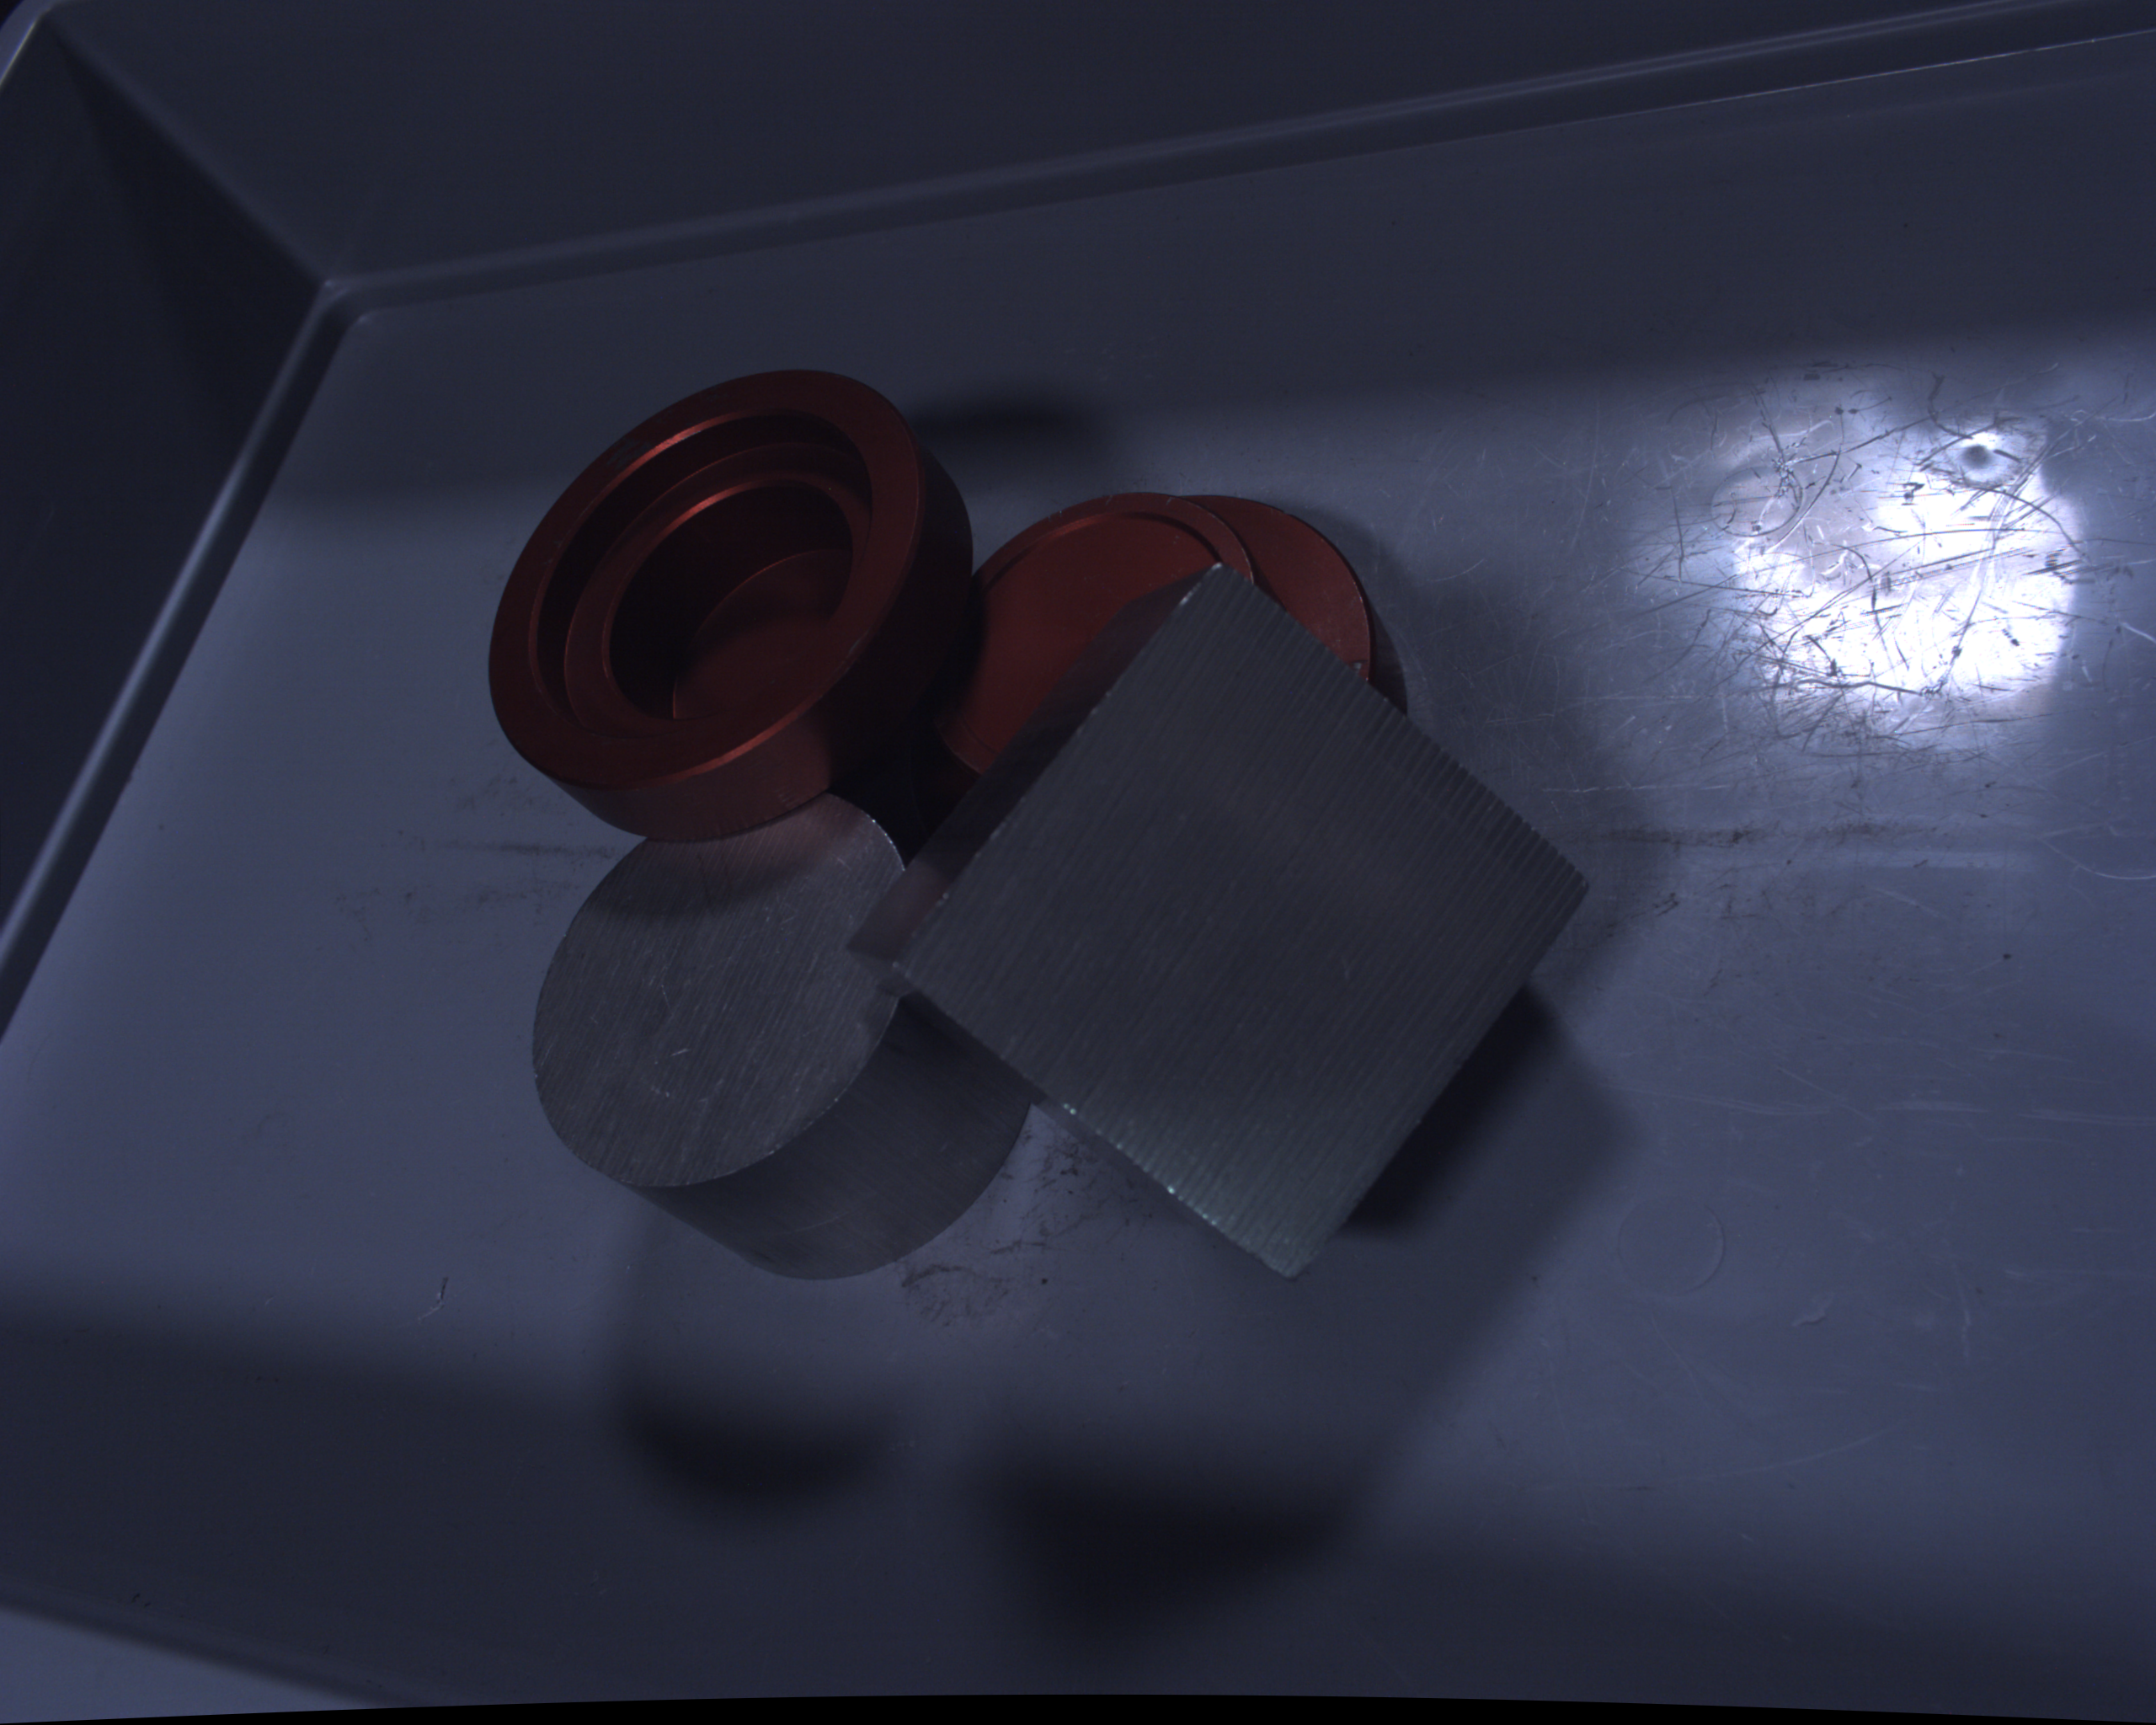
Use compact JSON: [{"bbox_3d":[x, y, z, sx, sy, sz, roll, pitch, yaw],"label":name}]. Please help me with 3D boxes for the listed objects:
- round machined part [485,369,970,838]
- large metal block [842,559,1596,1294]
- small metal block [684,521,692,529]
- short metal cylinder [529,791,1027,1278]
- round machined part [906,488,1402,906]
[{"bbox_3d":[-0.065,-0.047,0.417,0.098,0.042,0.098,-13,56,20],"label":"round machined part"},{"bbox_3d":[0.021,0.010,0.342,0.080,0.080,0.050,-51,11,-9],"label":"large metal block"},{"bbox_3d":[-0.071,-0.070,0.465,0.050,0.050,0.025,-39,51,2],"label":"small metal block"},{"bbox_3d":[-0.055,0.032,0.395,0.080,0.050,0.080,-13,56,20],"label":"short metal cylinder"},{"bbox_3d":[0.009,-0.033,0.405,0.098,0.042,0.098,-13,56,20],"label":"round machined part"}]
